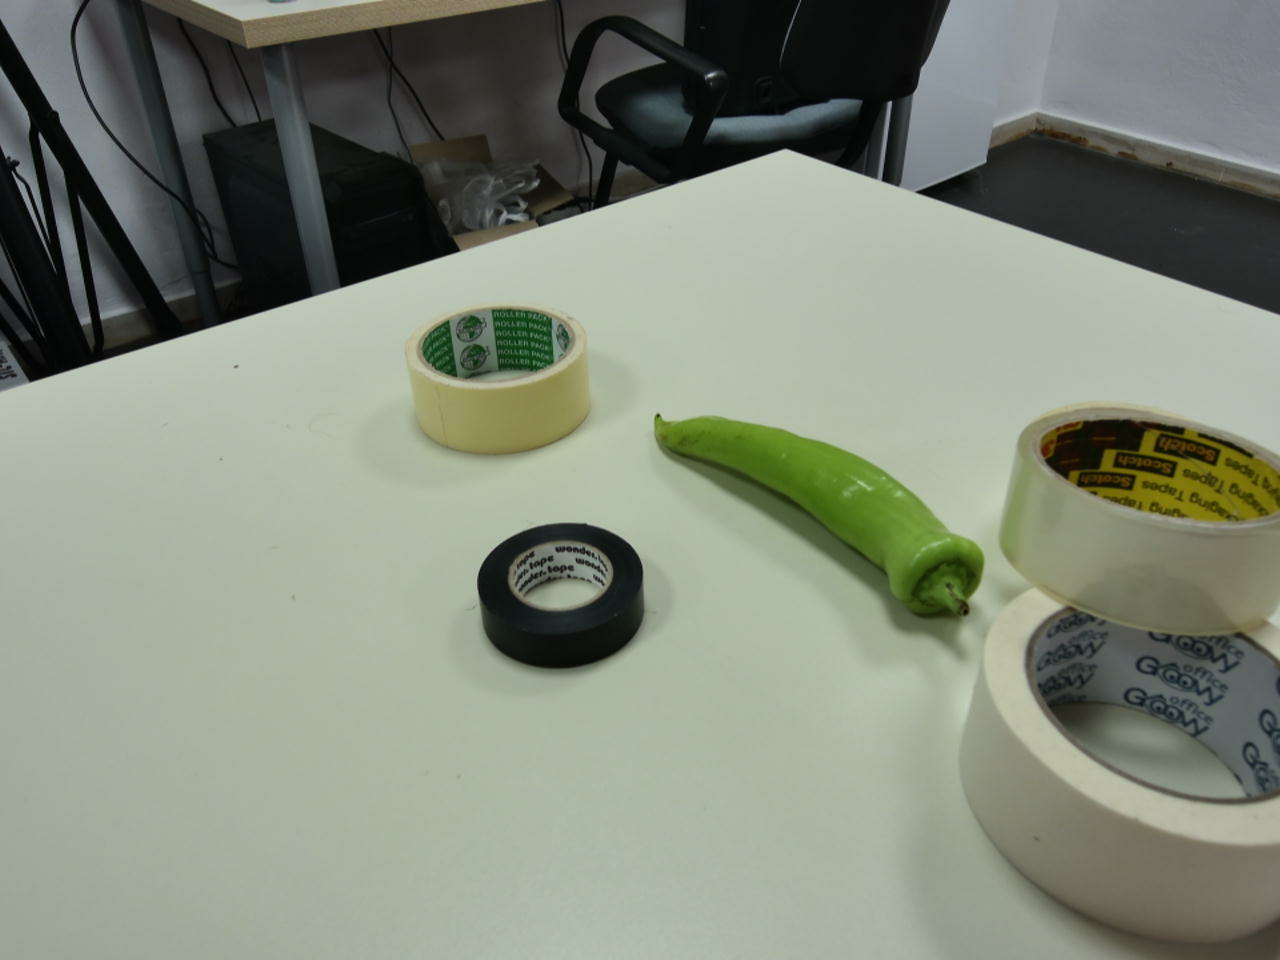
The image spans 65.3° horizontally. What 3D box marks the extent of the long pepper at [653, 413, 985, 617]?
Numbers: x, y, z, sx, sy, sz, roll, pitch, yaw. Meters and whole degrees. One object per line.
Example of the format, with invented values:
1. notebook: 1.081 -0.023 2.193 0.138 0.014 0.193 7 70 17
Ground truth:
1. long pepper: 0.074 0.001 0.438 0.046 0.038 0.197 -22 40 -28
